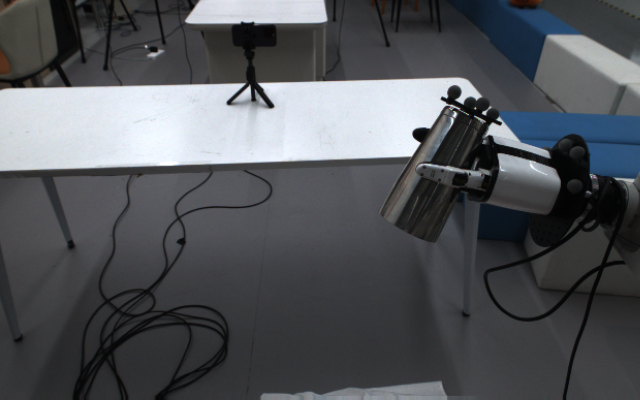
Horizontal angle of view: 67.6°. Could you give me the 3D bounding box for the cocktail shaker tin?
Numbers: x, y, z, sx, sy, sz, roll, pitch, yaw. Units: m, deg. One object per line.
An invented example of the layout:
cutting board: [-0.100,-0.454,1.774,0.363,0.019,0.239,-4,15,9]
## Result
cocktail shaker tin: [0.162,-0.041,0.667,0.093,0.170,0.093,24,13,-6]
